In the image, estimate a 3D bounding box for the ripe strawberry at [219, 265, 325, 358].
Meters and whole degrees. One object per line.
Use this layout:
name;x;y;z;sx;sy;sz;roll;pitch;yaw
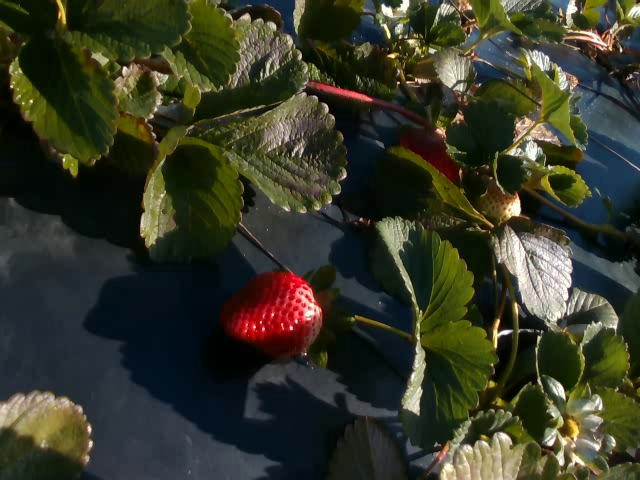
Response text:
ripe strawberry;-0.021;0.032;0.252;0.045;0.041;0.056;1;7;43
